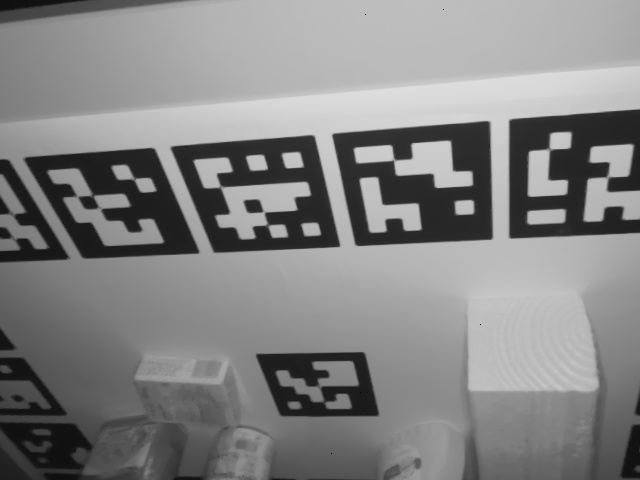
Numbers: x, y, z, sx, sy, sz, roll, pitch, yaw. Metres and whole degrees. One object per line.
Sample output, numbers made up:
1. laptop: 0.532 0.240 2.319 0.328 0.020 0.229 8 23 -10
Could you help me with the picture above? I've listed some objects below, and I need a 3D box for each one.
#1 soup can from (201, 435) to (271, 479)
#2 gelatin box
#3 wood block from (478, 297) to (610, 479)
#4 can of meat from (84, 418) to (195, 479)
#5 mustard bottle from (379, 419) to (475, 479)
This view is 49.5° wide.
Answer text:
1. soup can: -0.090 0.257 0.697 0.068 0.103 0.067 3 129 5
2. gelatin box: -0.124 0.143 0.658 0.089 0.030 0.072 4 129 1
3. wood block: 0.181 0.149 0.590 0.090 0.091 0.205 -1 134 11
4. can of meat: -0.187 0.232 0.713 0.101 0.085 0.058 -13 126 21
5. mustard bottle: 0.096 0.263 0.637 0.095 0.193 0.058 -24 123 27
